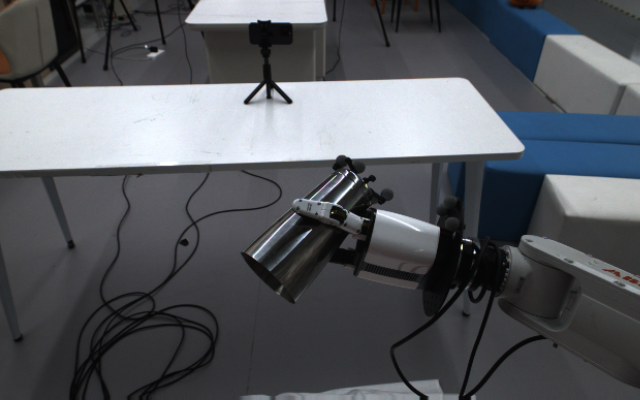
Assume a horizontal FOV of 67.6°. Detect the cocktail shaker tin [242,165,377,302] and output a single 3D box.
[{"bbox_3d":[-0.009,0.034,0.622,0.093,0.093,0.170,32,65,35],"label":"cocktail shaker tin"}]
